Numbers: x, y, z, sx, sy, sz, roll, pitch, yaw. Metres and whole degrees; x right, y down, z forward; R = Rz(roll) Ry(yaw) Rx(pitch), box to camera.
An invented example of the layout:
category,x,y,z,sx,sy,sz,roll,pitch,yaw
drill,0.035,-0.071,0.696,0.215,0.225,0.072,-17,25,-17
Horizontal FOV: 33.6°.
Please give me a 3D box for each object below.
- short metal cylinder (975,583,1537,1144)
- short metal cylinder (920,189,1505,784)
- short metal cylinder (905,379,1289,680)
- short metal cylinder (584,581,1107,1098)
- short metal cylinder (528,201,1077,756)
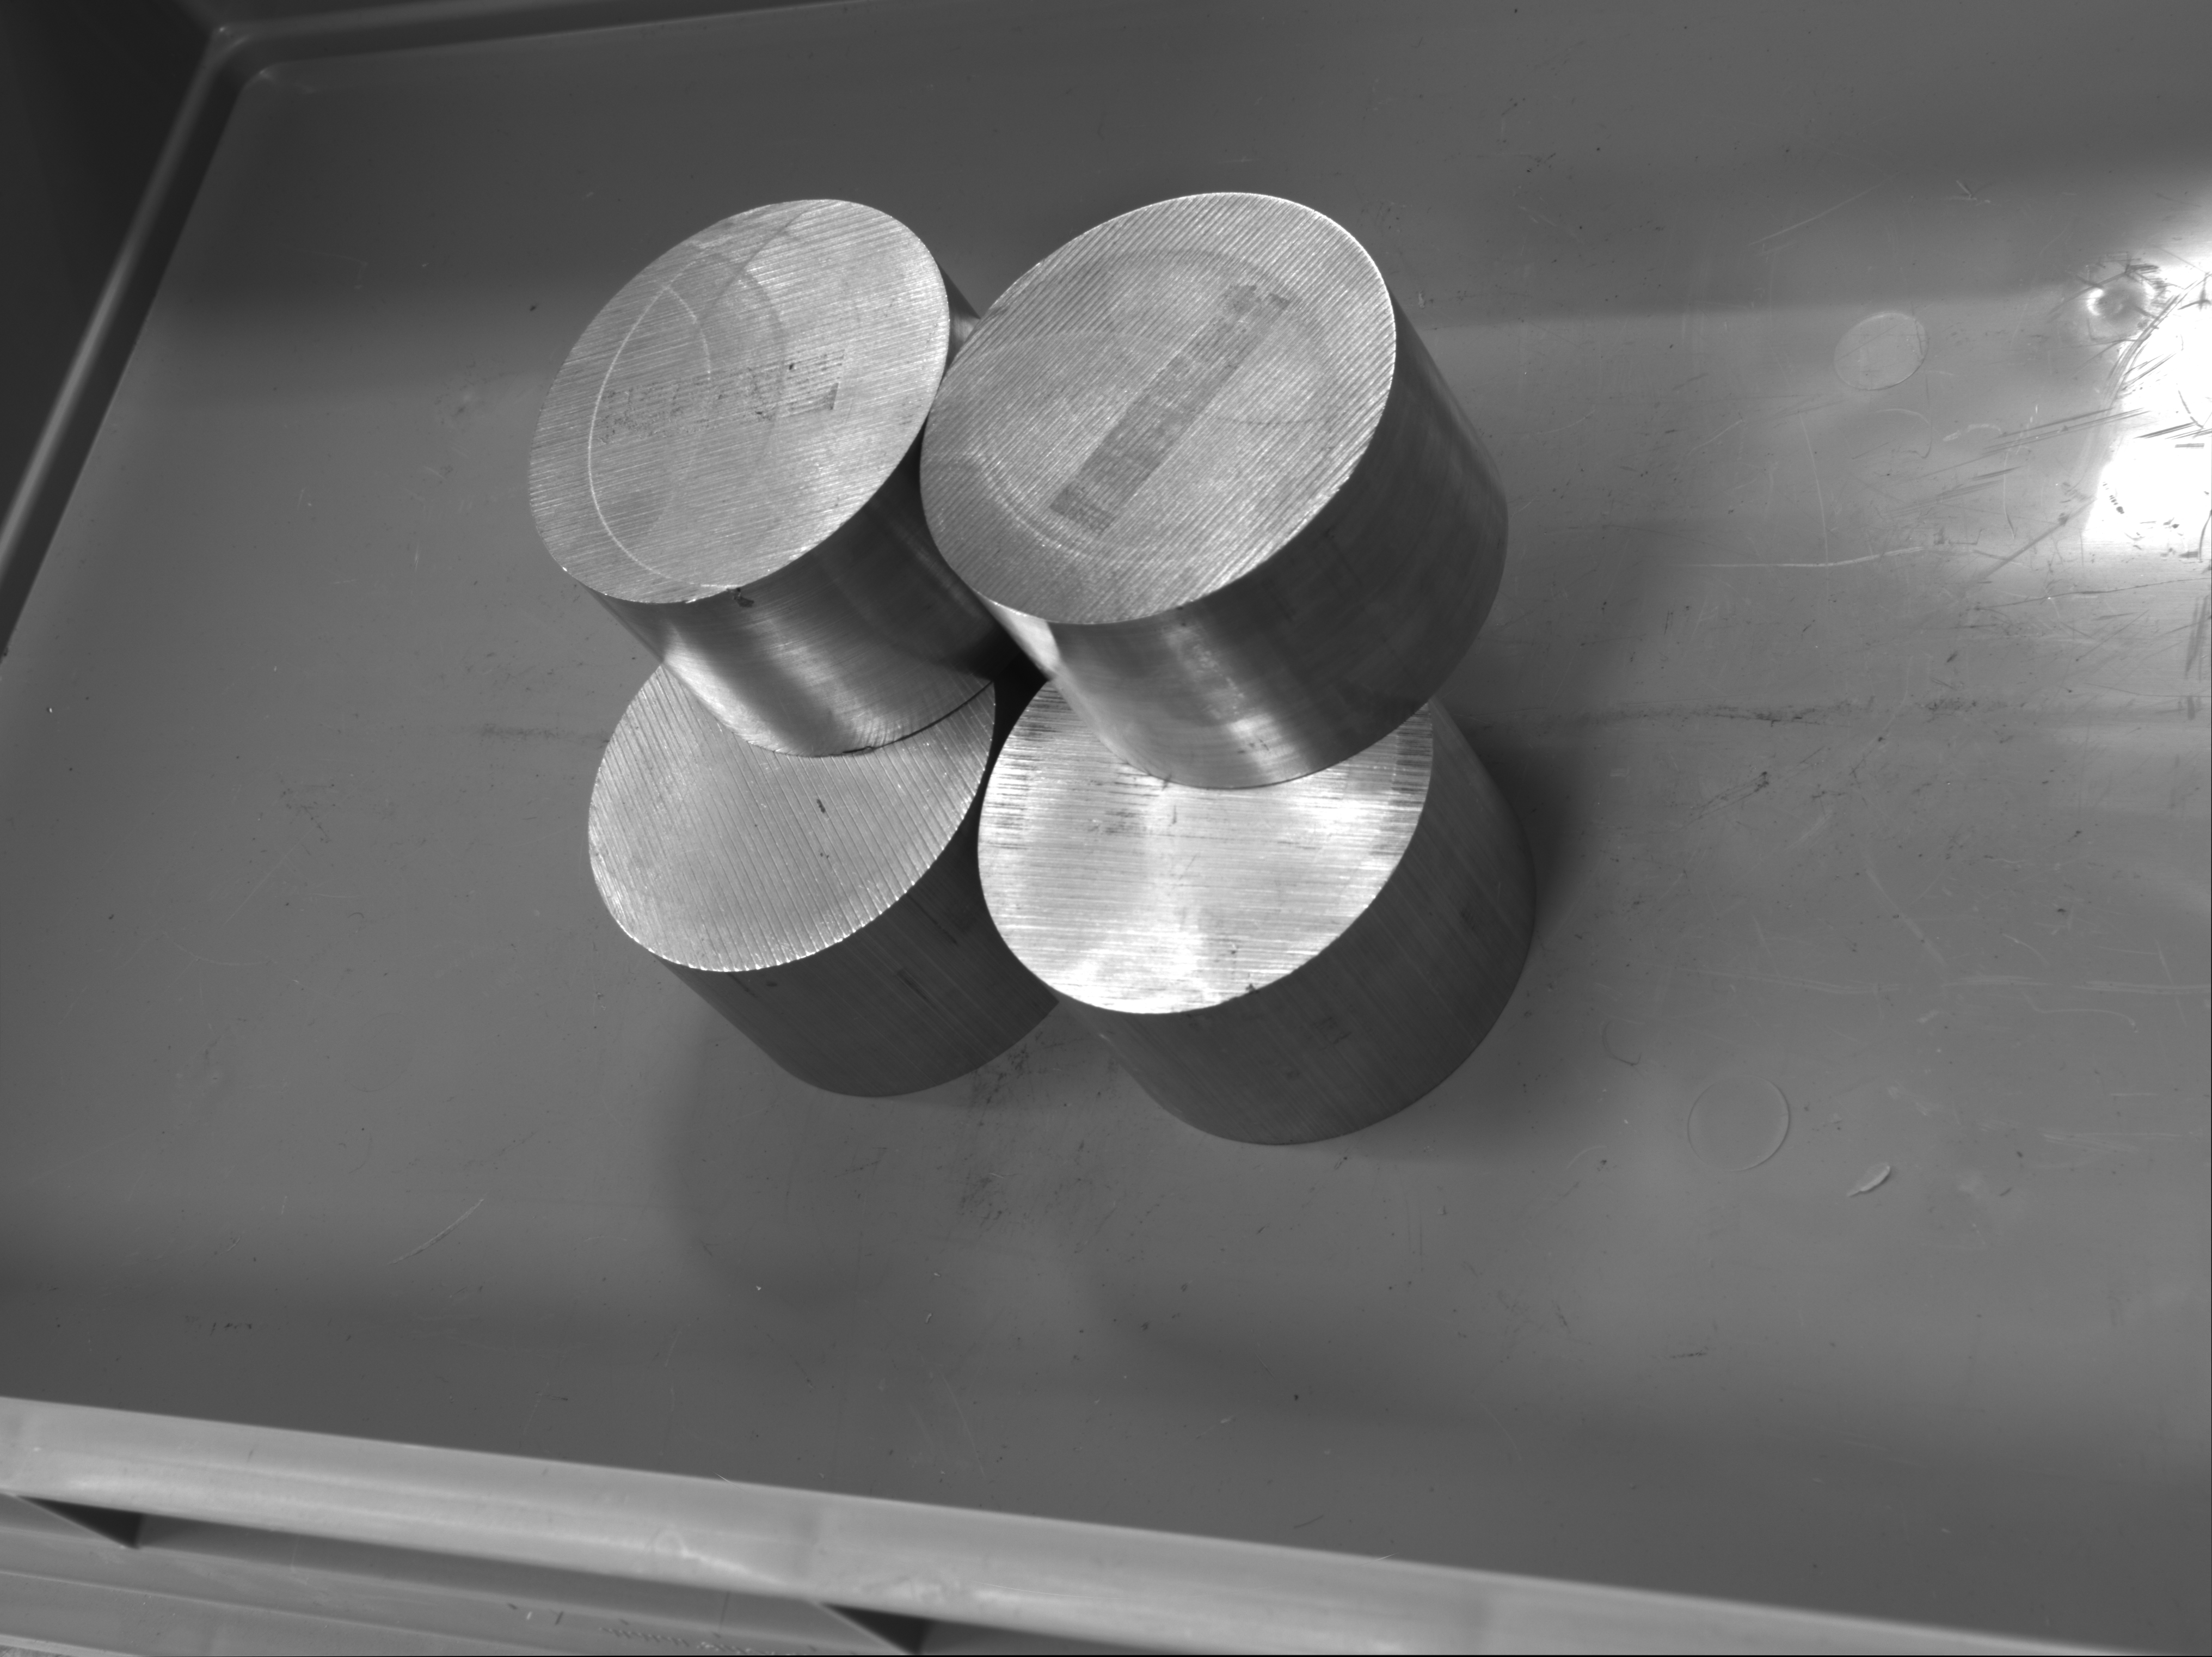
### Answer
category,x,y,z,sx,sy,sz,roll,pitch,yaw
short metal cylinder,0.025,0.006,0.610,0.080,0.050,0.080,-14,56,21
short metal cylinder,0.017,-0.054,0.585,0.080,0.050,0.080,-14,56,21
short metal cylinder,0.010,-0.058,0.658,0.080,0.050,0.080,-14,56,21
short metal cylinder,-0.045,0.001,0.651,0.080,0.050,0.080,-14,56,21
short metal cylinder,-0.051,-0.060,0.627,0.080,0.050,0.080,-14,56,21
